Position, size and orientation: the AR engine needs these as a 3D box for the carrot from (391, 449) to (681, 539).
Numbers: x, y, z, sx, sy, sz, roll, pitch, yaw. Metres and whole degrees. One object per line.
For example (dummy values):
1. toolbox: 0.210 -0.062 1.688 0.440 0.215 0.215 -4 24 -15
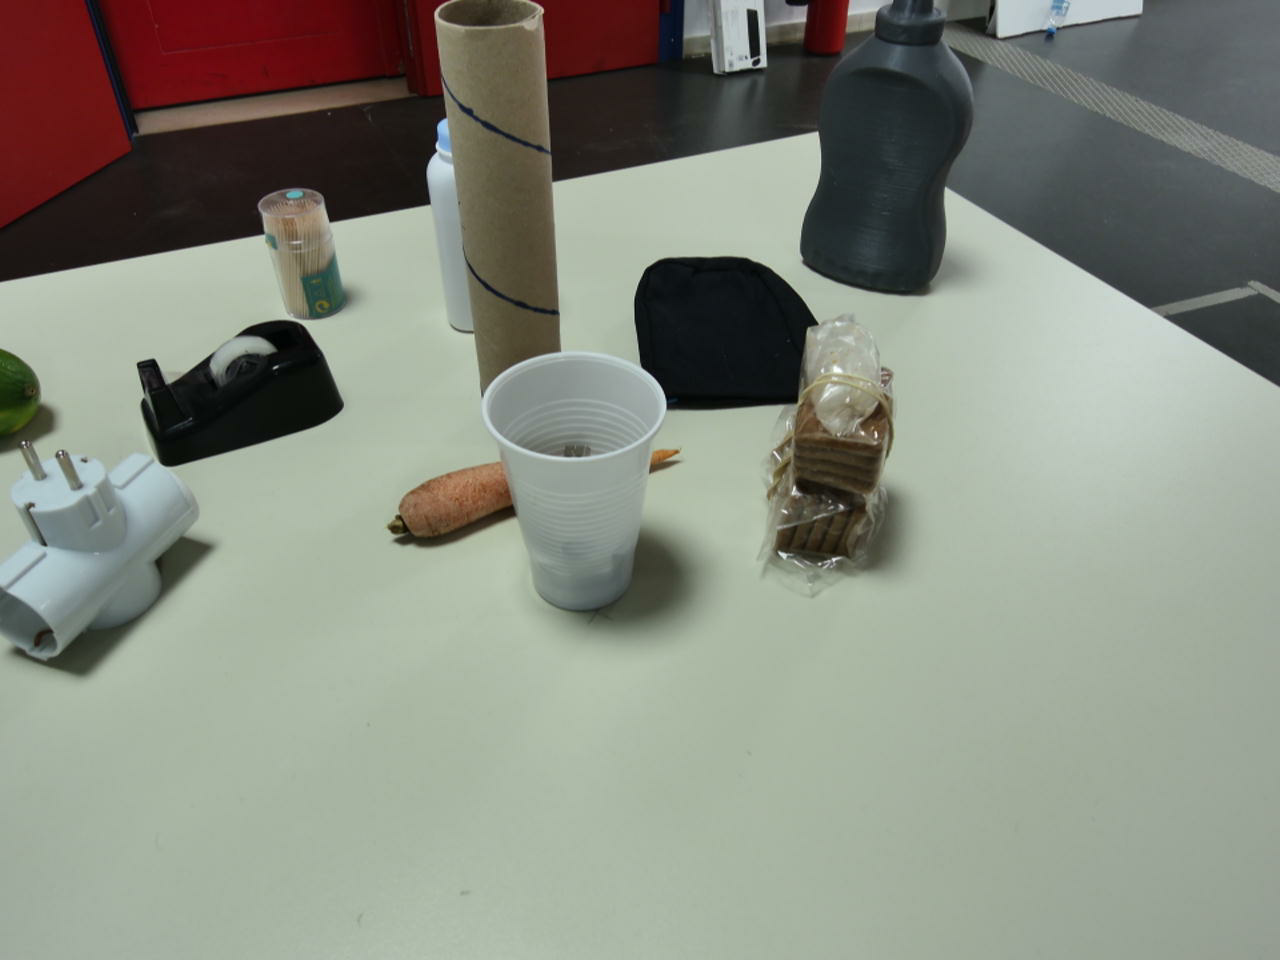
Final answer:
1. carrot: -0.053 -0.002 0.538 0.163 0.029 0.031 -16 41 -20
